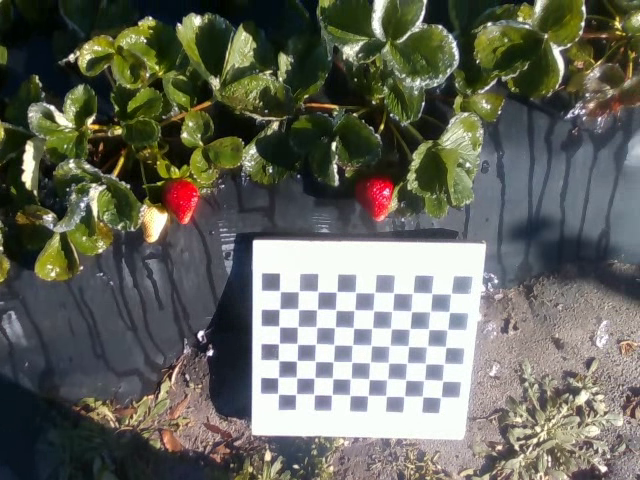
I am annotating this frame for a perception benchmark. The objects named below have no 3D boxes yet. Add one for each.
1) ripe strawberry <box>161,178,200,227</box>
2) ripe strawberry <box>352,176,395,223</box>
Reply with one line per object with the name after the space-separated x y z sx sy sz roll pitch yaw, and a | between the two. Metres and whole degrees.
-0.161 -0.041 0.719 0.042 0.061 0.046 -12 -26 2 | ripe strawberry
0.068 -0.047 0.716 0.048 0.061 0.044 -5 -17 0 | ripe strawberry
